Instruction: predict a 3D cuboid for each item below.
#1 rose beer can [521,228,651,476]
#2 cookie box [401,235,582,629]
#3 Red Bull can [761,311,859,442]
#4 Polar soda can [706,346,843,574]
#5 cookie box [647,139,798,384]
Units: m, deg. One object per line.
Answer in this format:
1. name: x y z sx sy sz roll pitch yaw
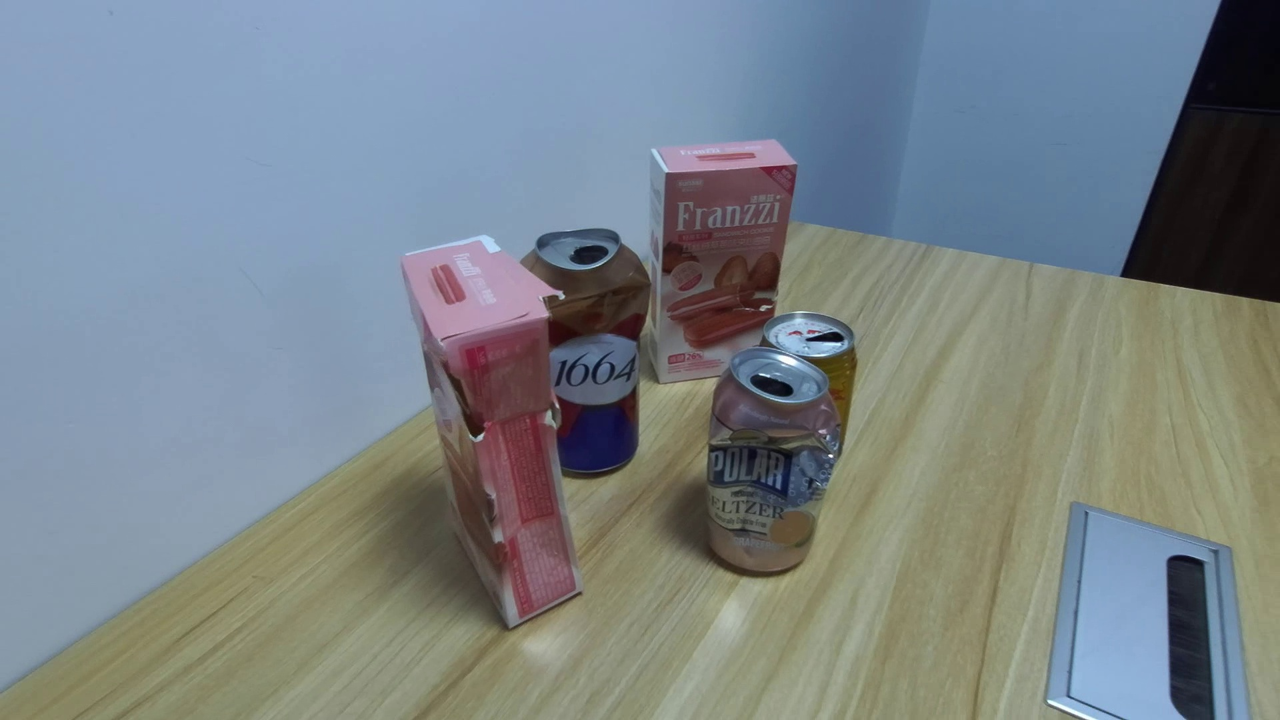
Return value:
1. rose beer can: -0.037 -0.003 0.467 0.068 0.162 0.074 24 41 31
2. cookie box: -0.074 0.041 0.377 0.059 0.186 0.104 -18 35 -23
3. Red Bull can: 0.112 0.021 0.484 0.069 0.092 0.069 -1 31 1
4. Polar soda can: 0.076 0.058 0.401 0.071 0.122 0.067 12 30 20
5. cookie box: 0.062 -0.070 0.548 0.105 0.188 0.048 -6 37 -10
